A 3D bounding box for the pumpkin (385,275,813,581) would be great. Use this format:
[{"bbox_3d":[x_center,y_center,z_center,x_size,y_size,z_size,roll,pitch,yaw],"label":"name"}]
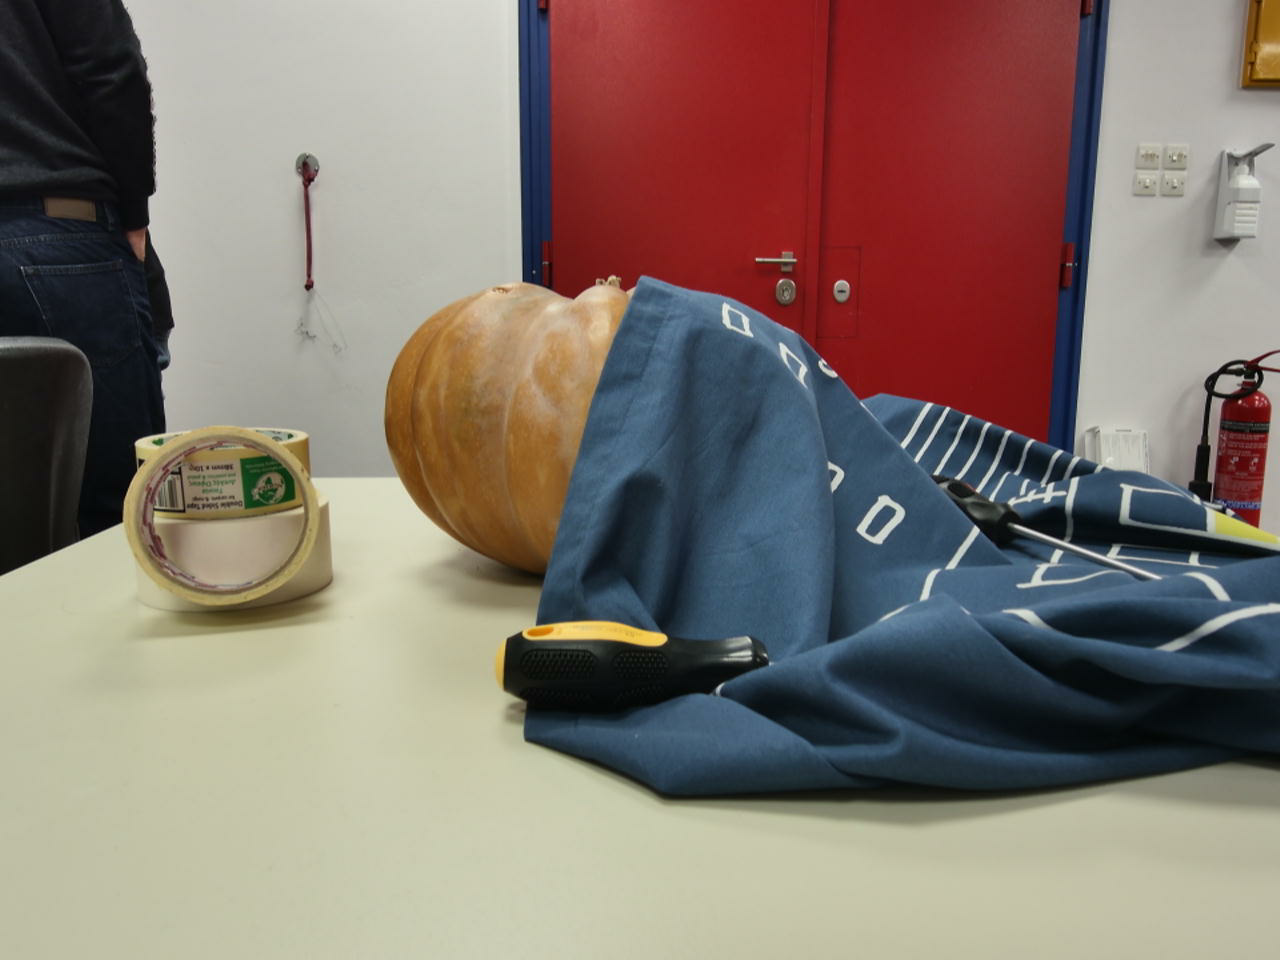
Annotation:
[{"bbox_3d":[-0.023,-0.036,0.632,0.277,0.181,0.277,0,8,0],"label":"pumpkin"}]
